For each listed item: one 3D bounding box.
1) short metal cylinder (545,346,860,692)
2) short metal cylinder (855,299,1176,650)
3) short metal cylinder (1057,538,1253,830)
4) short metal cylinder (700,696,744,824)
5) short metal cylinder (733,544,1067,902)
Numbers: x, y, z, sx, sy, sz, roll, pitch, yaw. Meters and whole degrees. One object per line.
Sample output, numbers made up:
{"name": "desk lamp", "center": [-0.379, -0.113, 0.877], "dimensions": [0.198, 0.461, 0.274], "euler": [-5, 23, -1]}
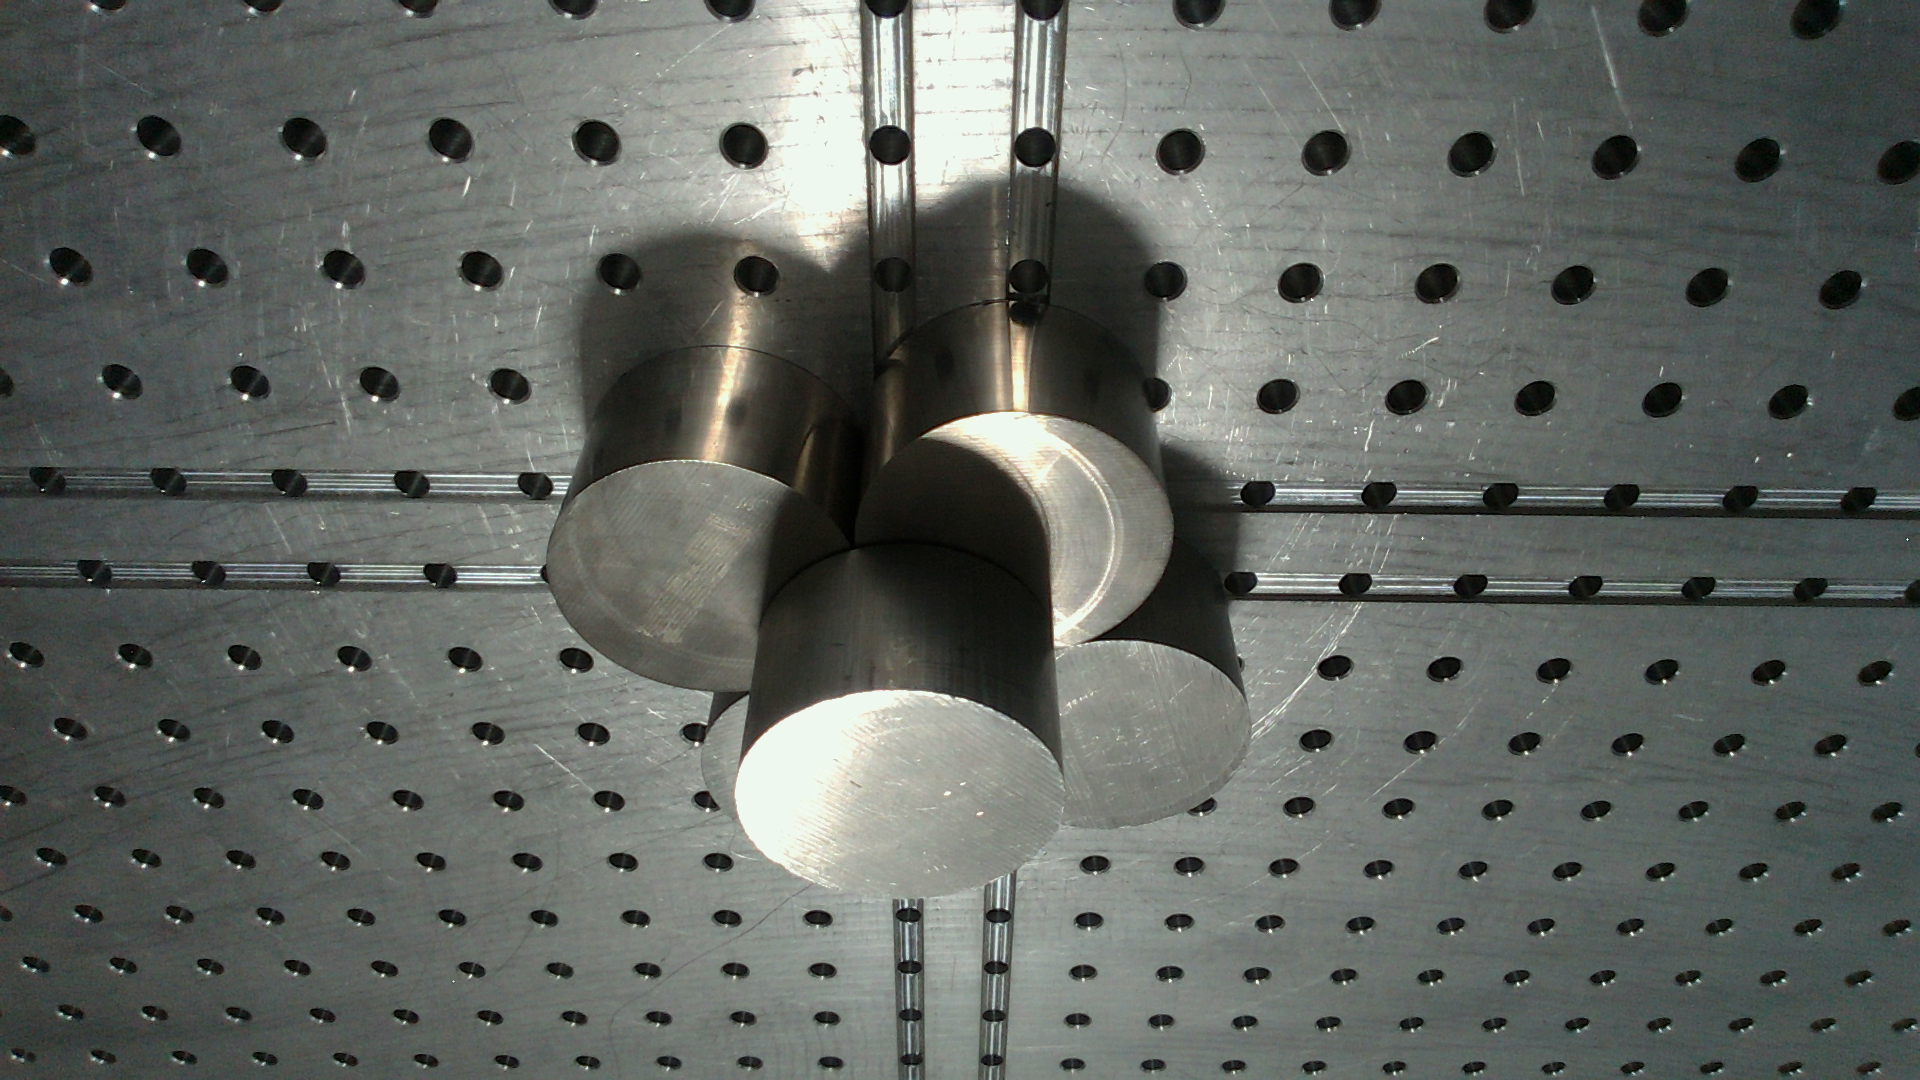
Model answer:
{"name": "short metal cylinder", "center": [-0.066, -0.005, 0.372], "dimensions": [0.080, 0.050, 0.080], "euler": [0, 130, 0]}
{"name": "short metal cylinder", "center": [0.014, -0.016, 0.363], "dimensions": [0.080, 0.050, 0.080], "euler": [0, 130, 0]}
{"name": "short metal cylinder", "center": [0.043, 0.041, 0.412], "dimensions": [0.080, 0.050, 0.080], "euler": [0, 130, 0]}
{"name": "short metal cylinder", "center": [-0.036, 0.052, 0.420], "dimensions": [0.080, 0.050, 0.080], "euler": [0, 130, 0]}
{"name": "short metal cylinder", "center": [-0.015, 0.048, 0.350], "dimensions": [0.080, 0.050, 0.080], "euler": [-1, 132, -1]}
